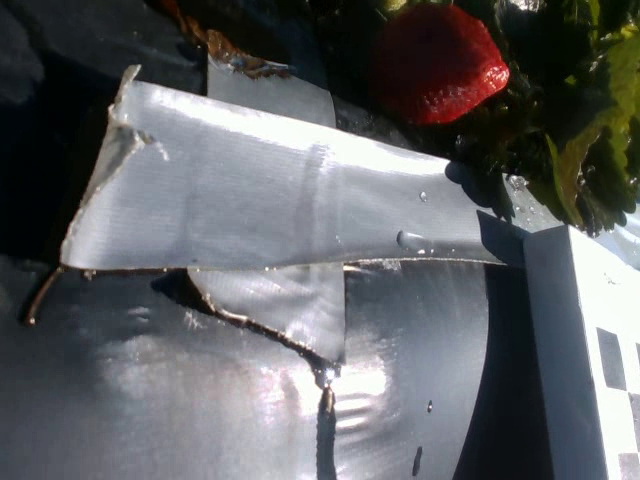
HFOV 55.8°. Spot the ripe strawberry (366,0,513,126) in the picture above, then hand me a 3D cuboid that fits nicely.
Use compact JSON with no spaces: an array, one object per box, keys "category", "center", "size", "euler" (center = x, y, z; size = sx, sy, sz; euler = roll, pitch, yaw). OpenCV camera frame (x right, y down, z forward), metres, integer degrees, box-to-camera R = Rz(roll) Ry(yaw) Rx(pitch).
[{"category":"ripe strawberry","center":[0.052,-0.061,0.228],"size":[0.057,0.062,0.065],"euler":[-37,25,0]}]
